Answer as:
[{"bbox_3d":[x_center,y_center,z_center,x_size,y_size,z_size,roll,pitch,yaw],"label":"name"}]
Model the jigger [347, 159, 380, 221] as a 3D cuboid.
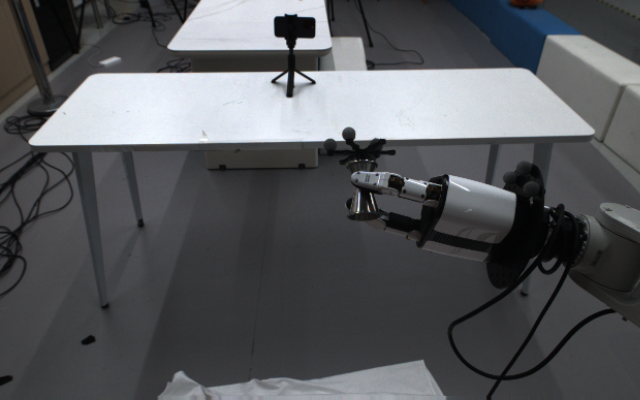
[{"bbox_3d":[0.054,-0.013,0.603,0.043,0.043,0.071,0,75,-3],"label":"jigger"}]
